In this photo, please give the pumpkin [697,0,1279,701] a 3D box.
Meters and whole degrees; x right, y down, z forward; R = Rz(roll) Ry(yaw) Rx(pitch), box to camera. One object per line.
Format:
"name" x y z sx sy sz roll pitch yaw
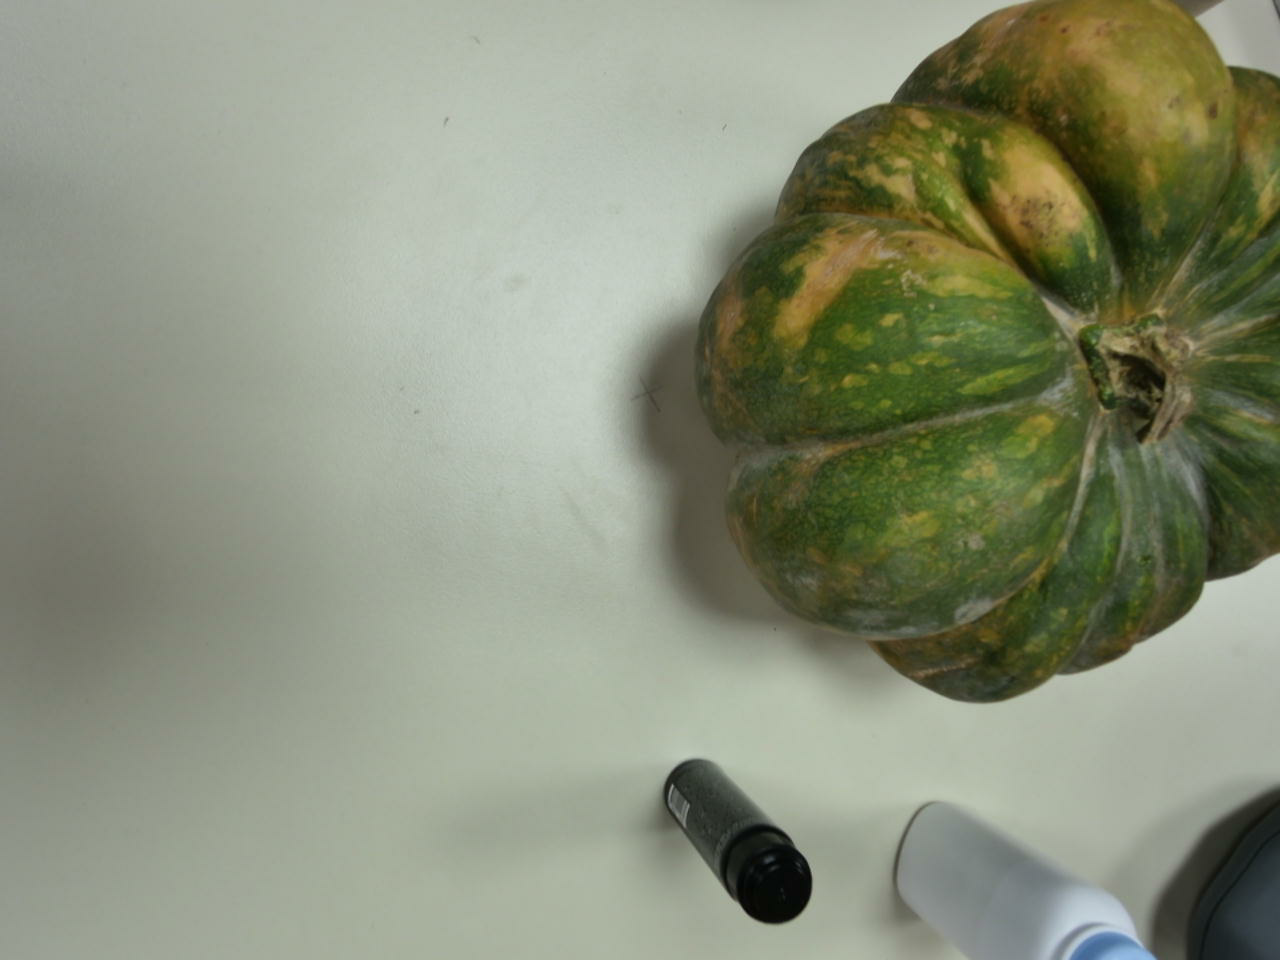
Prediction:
"pumpkin" 0.152 -0.043 0.381 0.270 0.173 0.237 -43 99 -8
